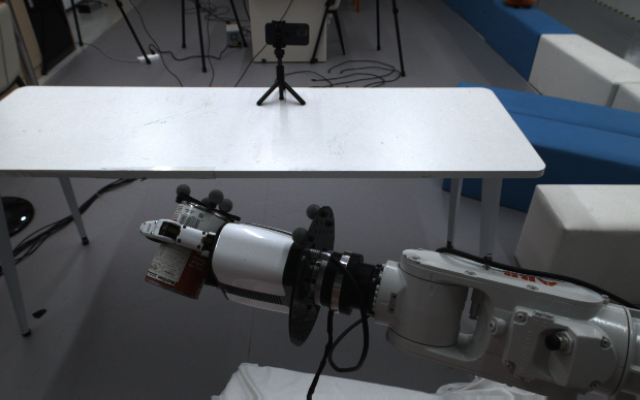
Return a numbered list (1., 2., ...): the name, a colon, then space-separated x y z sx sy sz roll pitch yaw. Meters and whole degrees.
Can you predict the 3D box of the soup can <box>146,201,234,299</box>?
1. soup can: -0.156 0.061 0.580 0.067 0.067 0.101 16 75 19
